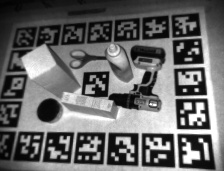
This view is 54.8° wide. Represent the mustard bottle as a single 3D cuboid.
[{"bbox_3d":[0.017,-0.092,0.713,0.058,0.193,0.095,-41,69,-1],"label":"mustard bottle"}]

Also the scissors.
[{"bbox_3d":[-0.099,-0.121,0.830,0.201,0.016,0.087,0,69,12],"label":"scissors"}]

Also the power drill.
[{"bbox_3d":[0.074,-0.027,0.743,0.183,0.058,0.187,11,82,15],"label":"power drill"}]

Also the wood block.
[{"bbox_3d":[-0.200,-0.049,0.737,0.091,0.208,0.089,-30,69,2],"label":"wood block"}]

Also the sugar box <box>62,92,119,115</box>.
[{"bbox_3d":[-0.071,0.056,0.729,0.175,0.093,0.045,10,72,13],"label":"sugar box"}]

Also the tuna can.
[{"bbox_3d":[-0.228,0.077,0.781,0.085,0.034,0.085,-3,73,10],"label":"tuna can"}]
